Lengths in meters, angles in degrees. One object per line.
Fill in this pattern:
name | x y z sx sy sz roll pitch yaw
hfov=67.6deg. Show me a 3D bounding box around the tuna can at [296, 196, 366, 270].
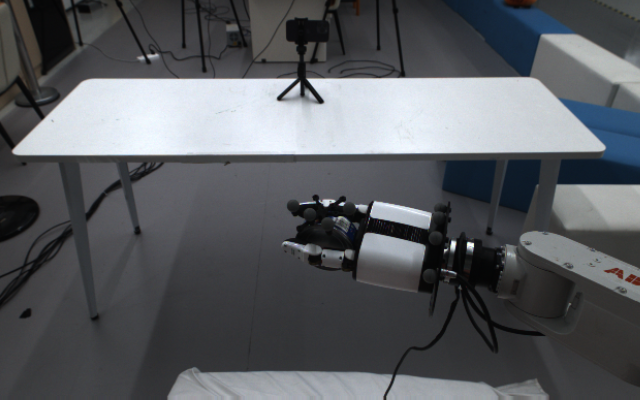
tuna can | 0.012 0.057 0.678 0.085 0.085 0.034 11 39 13
